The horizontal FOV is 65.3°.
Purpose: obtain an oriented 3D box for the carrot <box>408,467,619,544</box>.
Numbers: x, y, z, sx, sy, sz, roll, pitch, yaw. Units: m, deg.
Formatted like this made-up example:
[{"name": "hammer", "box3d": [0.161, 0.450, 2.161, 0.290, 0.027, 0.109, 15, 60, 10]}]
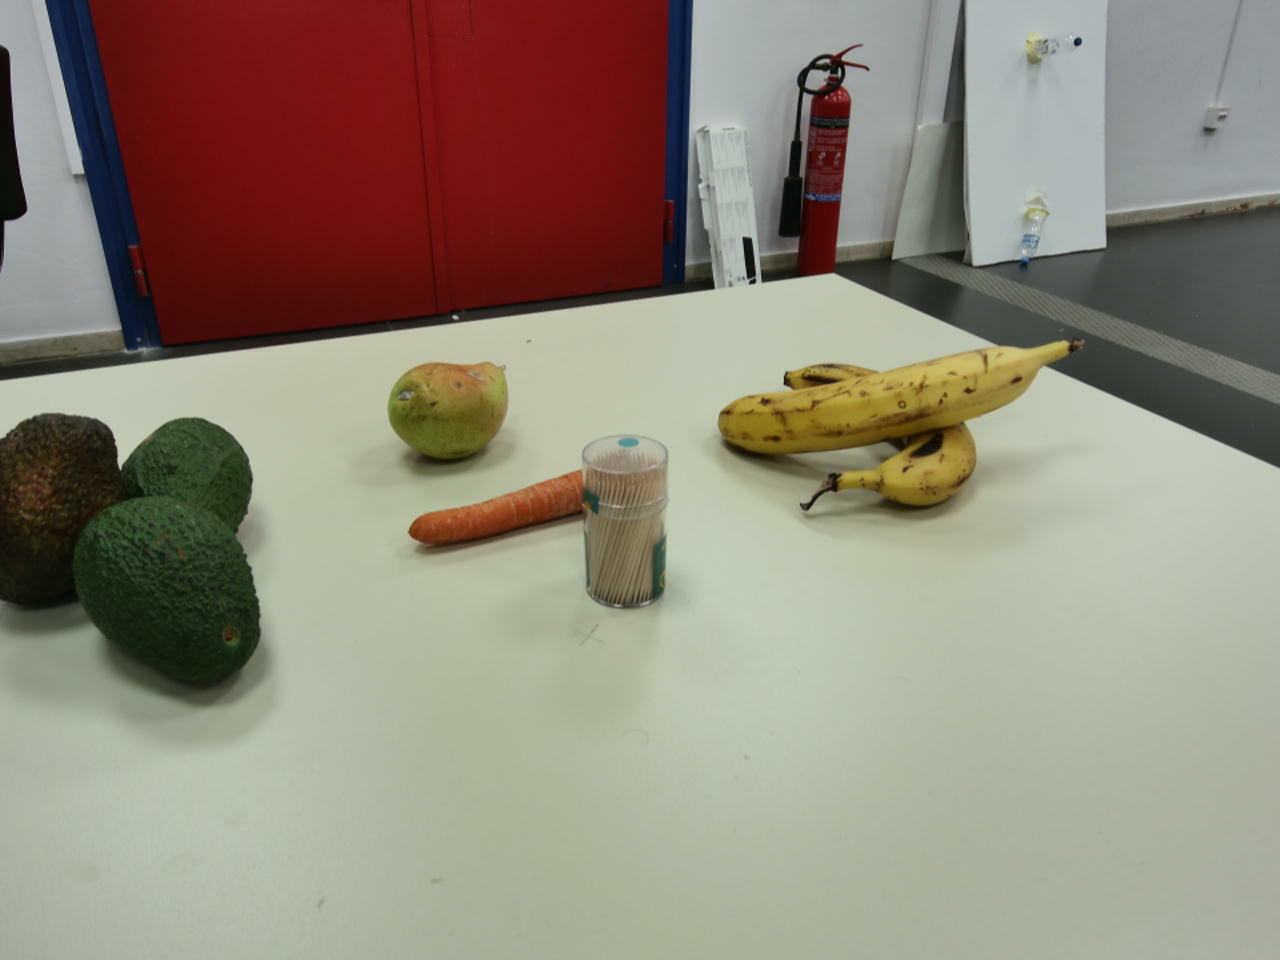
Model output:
[{"name": "carrot", "box3d": [-0.066, 0.014, 0.549, 0.122, 0.023, 0.024, -13, 29, -25]}]
